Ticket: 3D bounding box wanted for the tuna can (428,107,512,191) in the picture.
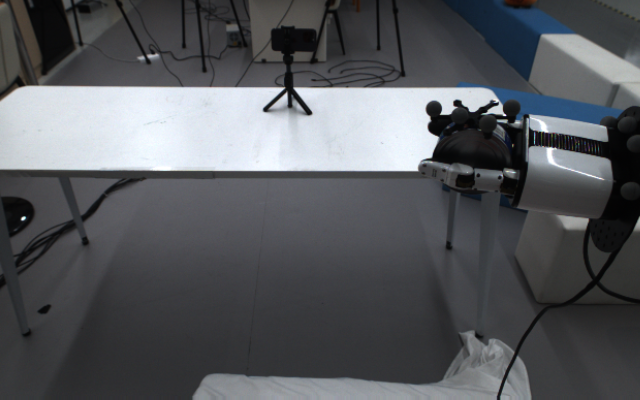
[{"bbox_3d":[0.175,-0.053,0.552,0.085,0.085,0.034,14,41,16],"label":"tuna can"}]
